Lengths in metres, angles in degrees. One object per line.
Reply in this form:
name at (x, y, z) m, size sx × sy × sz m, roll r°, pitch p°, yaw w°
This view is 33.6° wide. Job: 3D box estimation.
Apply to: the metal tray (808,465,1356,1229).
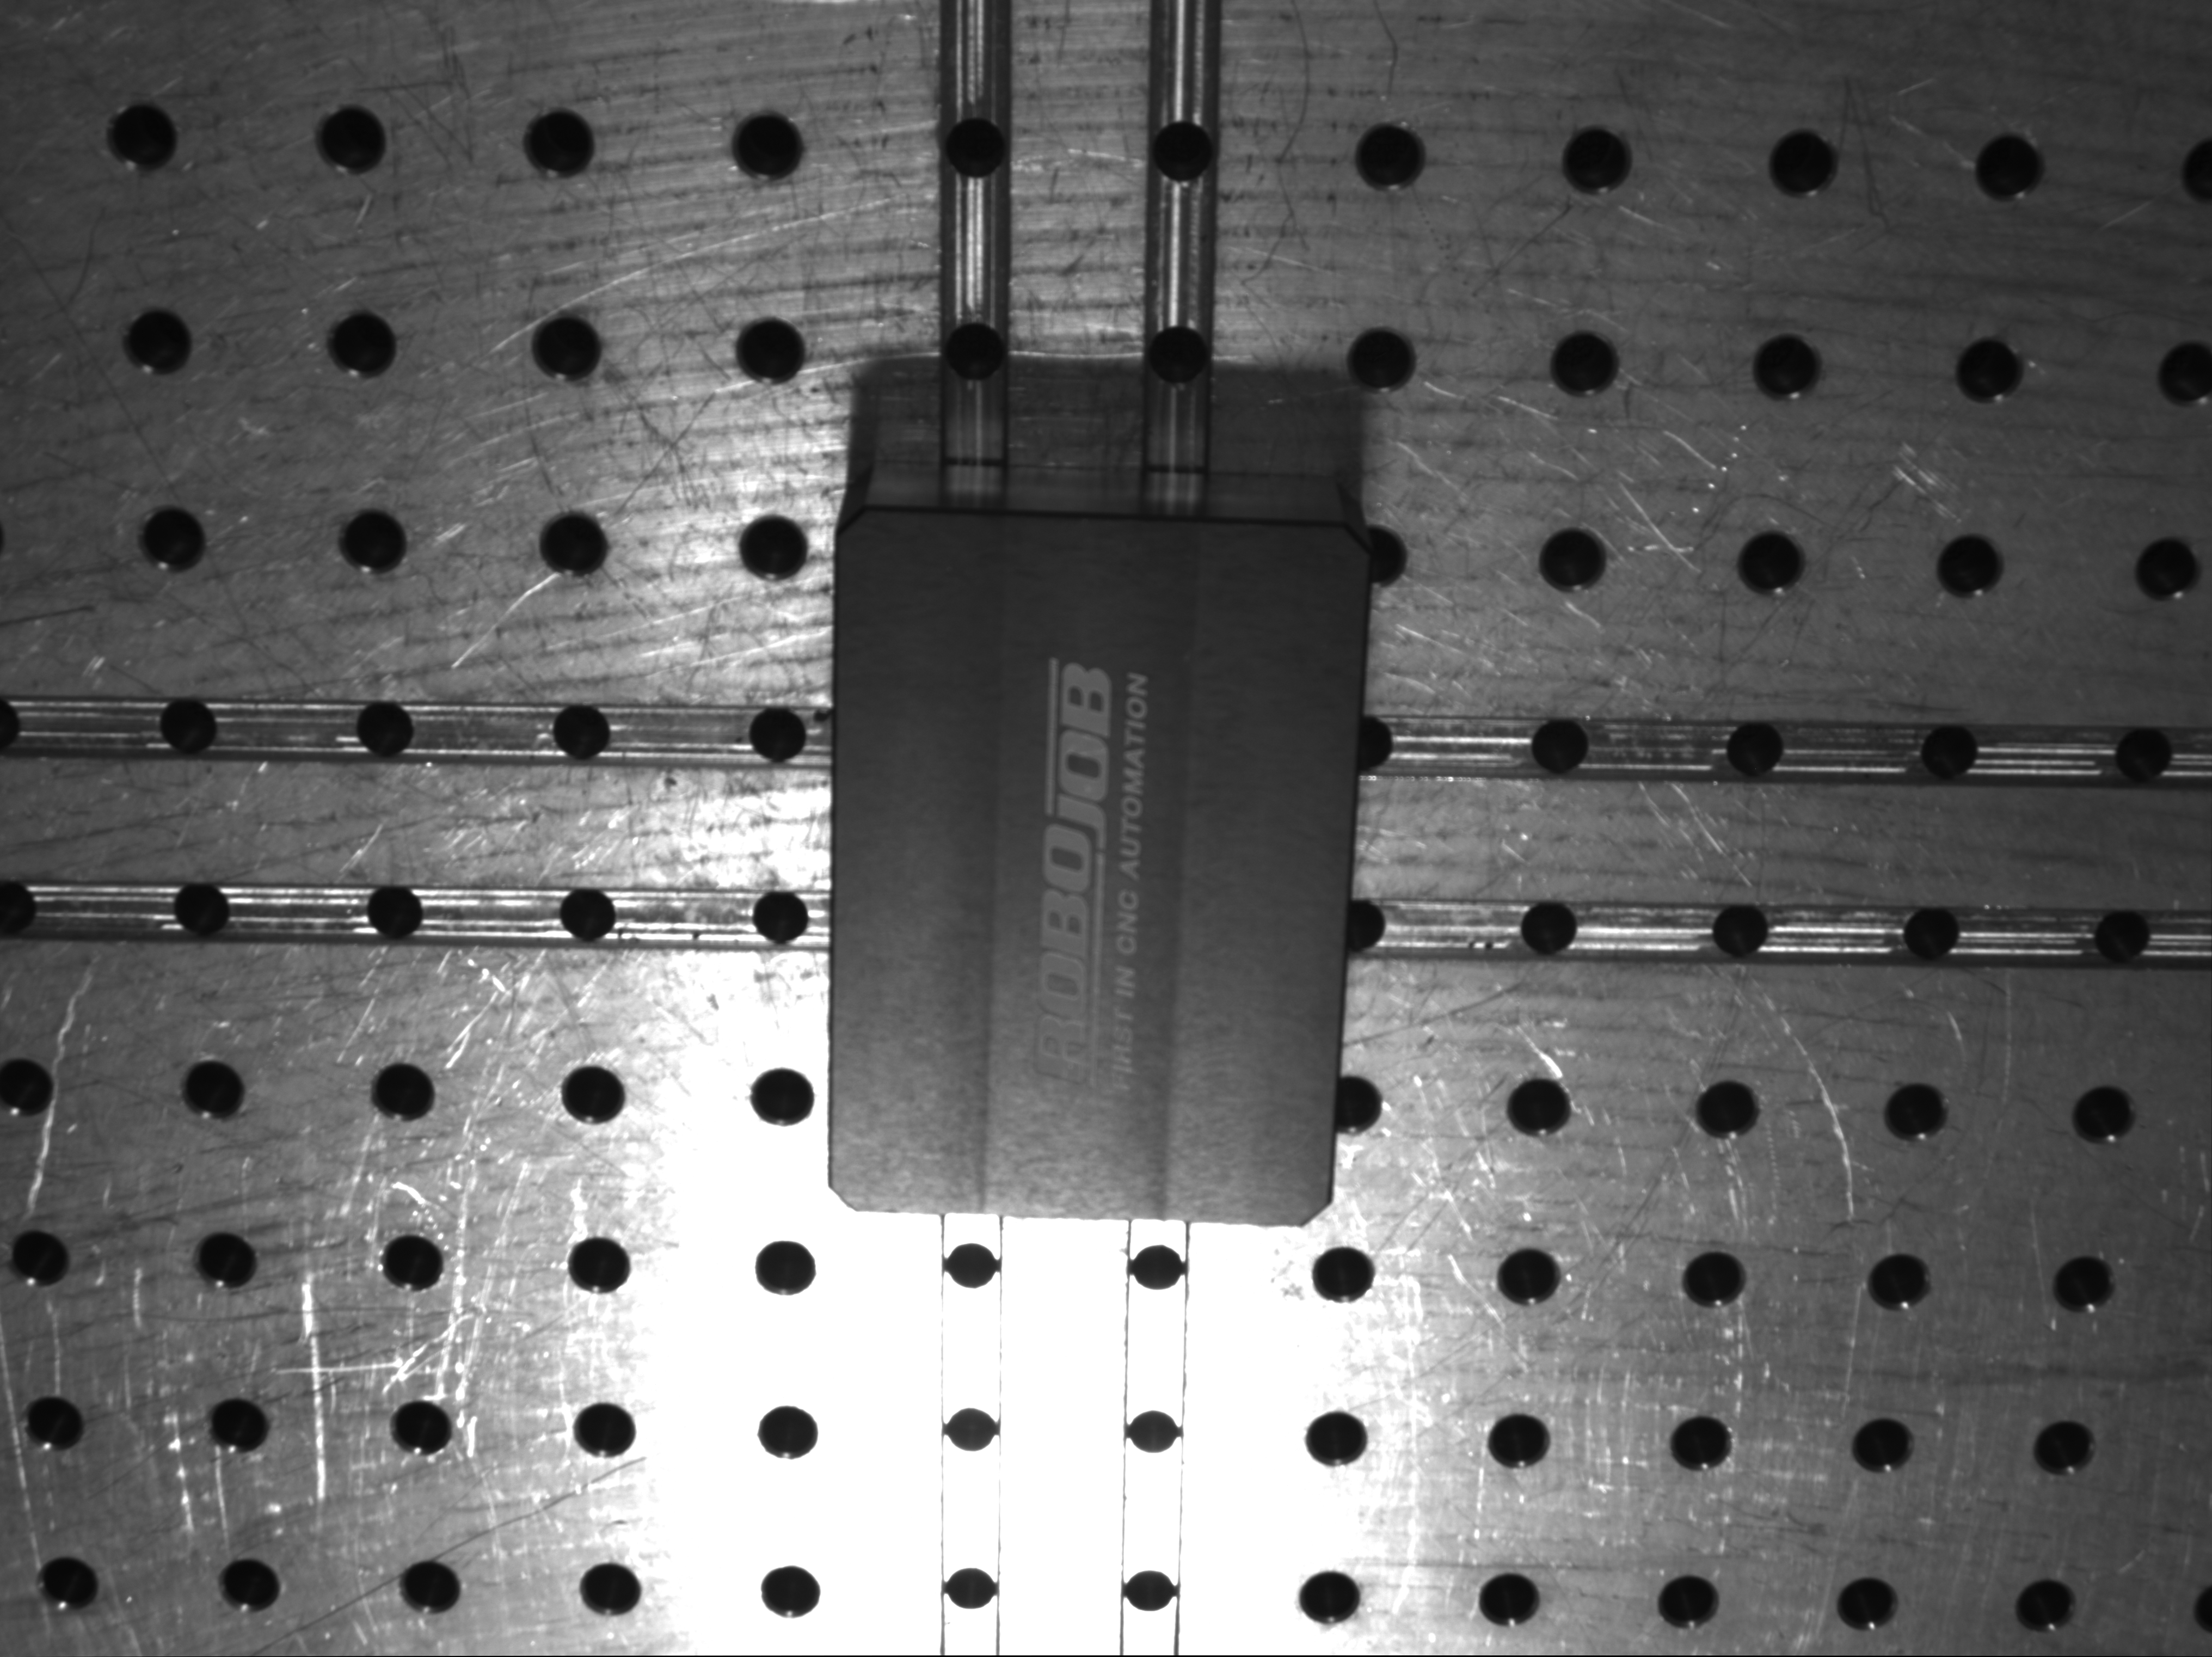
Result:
metal tray at (-0.006, 0.004, 0.644) m, size 0.090 × 0.030 × 0.130 m, roll 2°, pitch 110°, yaw -1°
